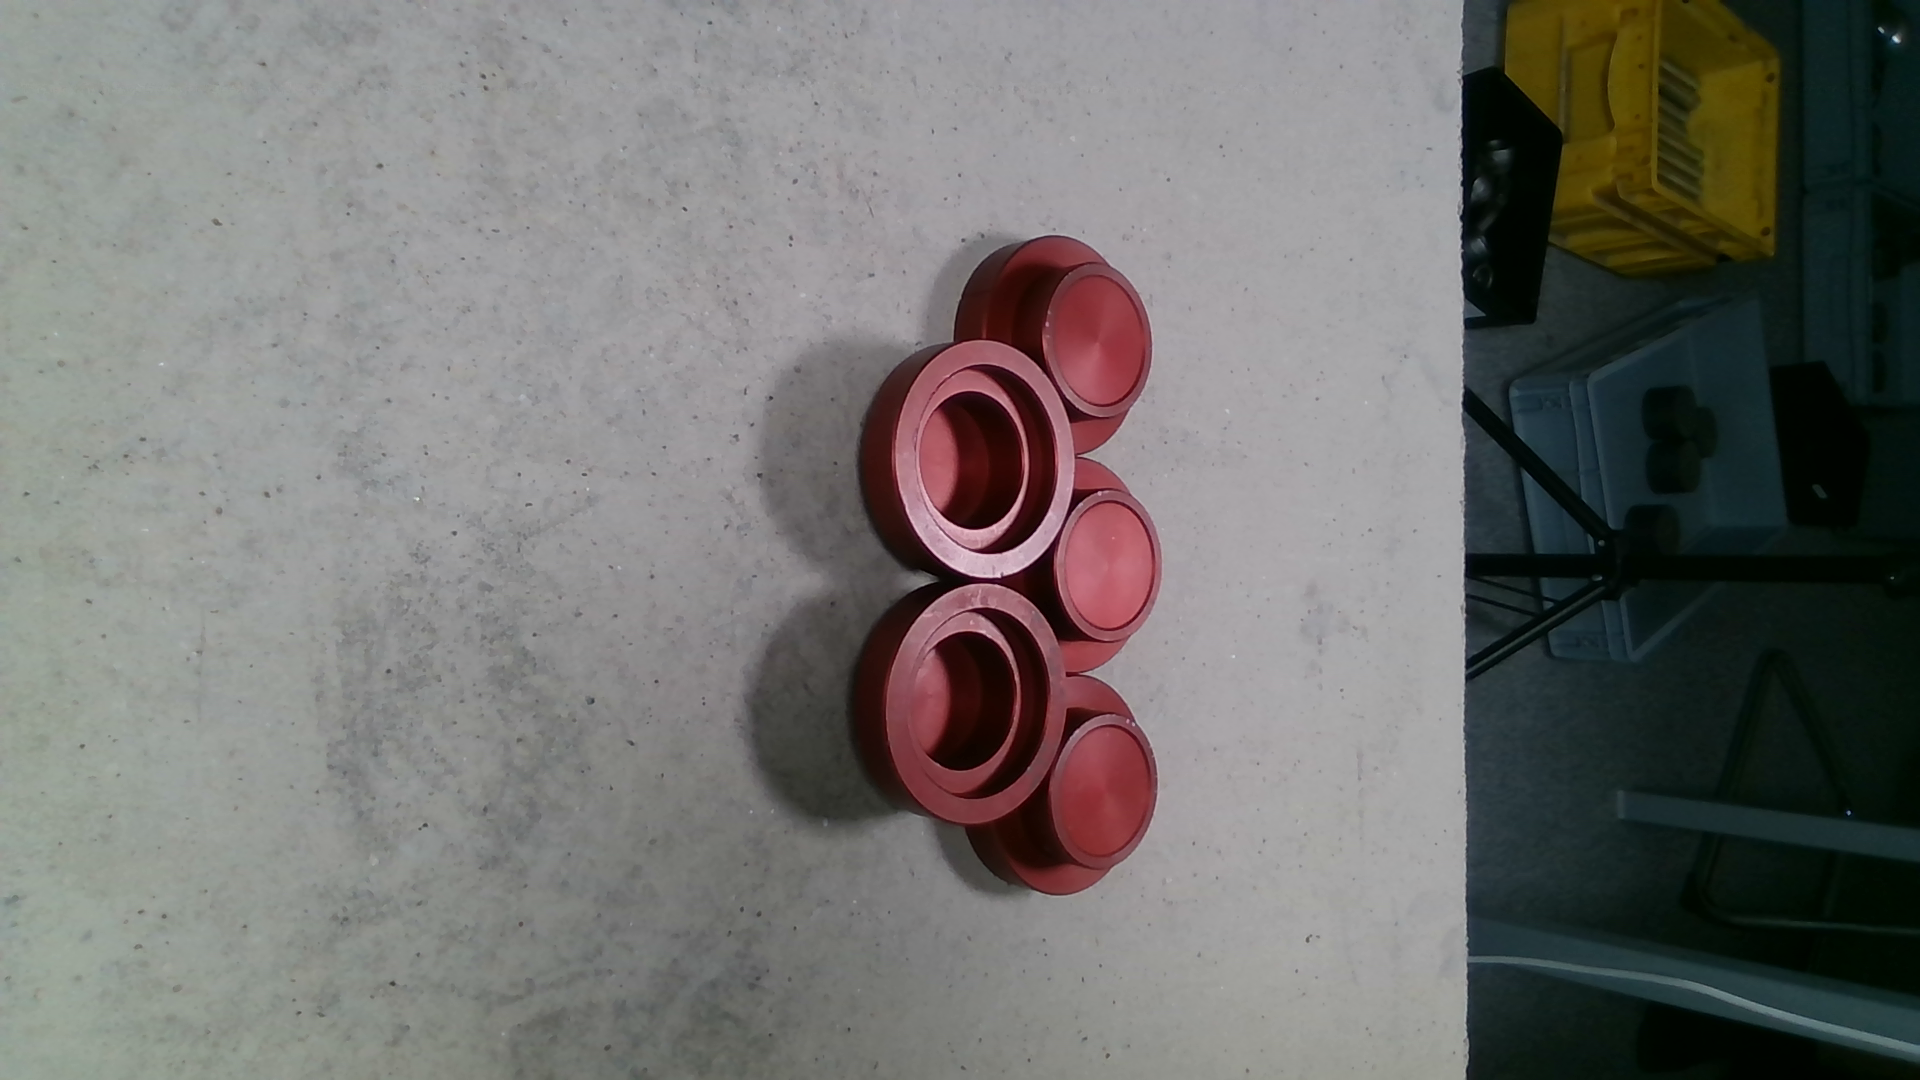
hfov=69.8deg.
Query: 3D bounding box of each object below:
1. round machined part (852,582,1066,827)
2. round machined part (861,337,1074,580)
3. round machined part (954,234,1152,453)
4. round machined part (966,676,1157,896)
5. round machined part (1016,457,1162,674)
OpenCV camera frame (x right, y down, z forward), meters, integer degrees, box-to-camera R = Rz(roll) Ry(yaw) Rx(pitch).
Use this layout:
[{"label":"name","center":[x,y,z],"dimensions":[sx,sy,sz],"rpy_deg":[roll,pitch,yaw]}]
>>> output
[{"label":"round machined part","center":[-0.005,0.066,0.568],"dimensions":[0.098,0.042,0.098],"rpy_deg":[0,90,-40]},{"label":"round machined part","center":[-0.002,-0.033,0.571],"dimensions":[0.098,0.042,0.098],"rpy_deg":[0,90,-40]},{"label":"round machined part","center":[0.047,-0.087,0.612],"dimensions":[0.098,0.042,0.098],"rpy_deg":[0,90,-40]},{"label":"round machined part","center":[0.050,0.110,0.615],"dimensions":[0.098,0.042,0.098],"rpy_deg":[0,90,-40]},{"label":"round machined part","center":[0.053,0.011,0.617],"dimensions":[0.098,0.042,0.098],"rpy_deg":[0,90,-40]}]
